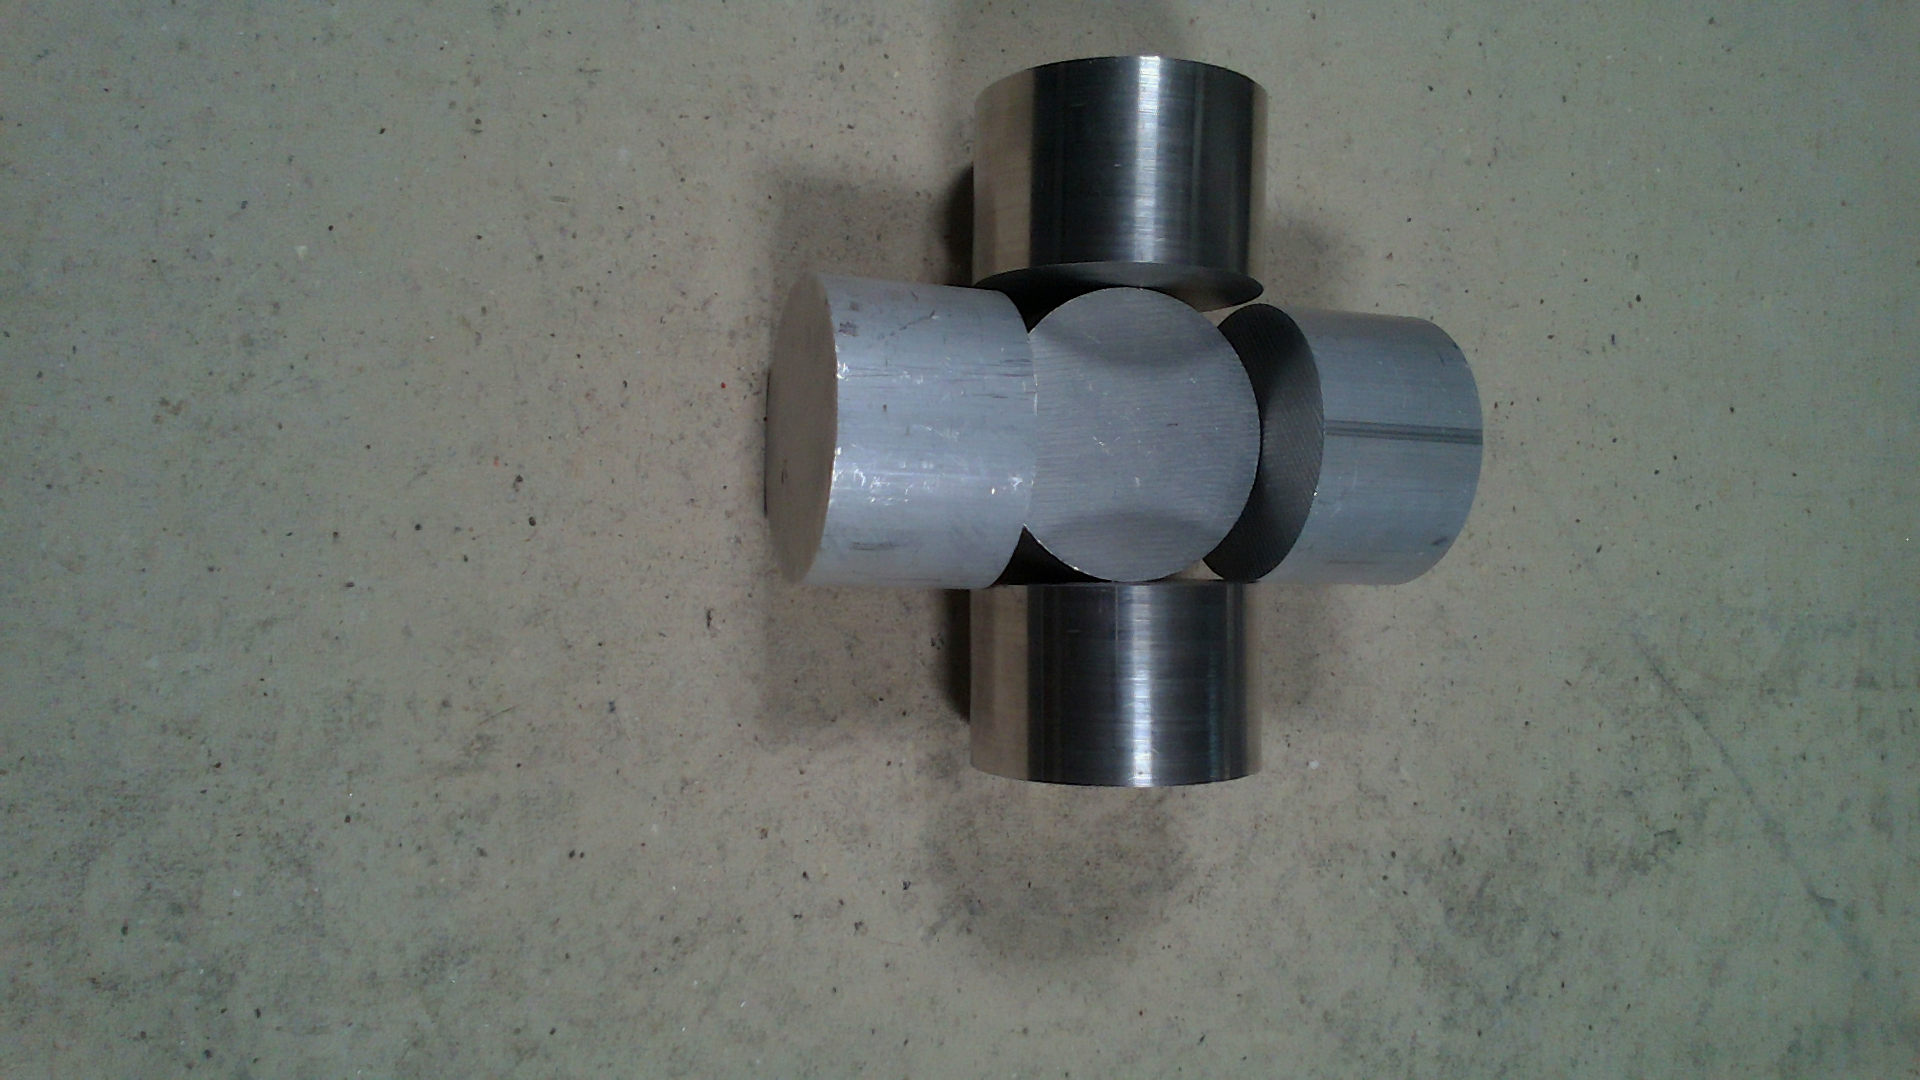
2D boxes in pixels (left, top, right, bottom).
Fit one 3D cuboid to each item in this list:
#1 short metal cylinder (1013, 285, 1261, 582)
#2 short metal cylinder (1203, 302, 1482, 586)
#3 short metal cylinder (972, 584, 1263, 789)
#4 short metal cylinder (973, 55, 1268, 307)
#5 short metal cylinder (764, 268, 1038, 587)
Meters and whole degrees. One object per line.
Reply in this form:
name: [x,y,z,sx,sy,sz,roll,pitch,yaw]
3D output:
short metal cylinder: [0.038,-0.029,0.395,0.080,0.050,0.080,0,90,-20]
short metal cylinder: [0.105,-0.027,0.403,0.050,0.080,0.080,2,89,-20]
short metal cylinder: [0.043,0.037,0.380,0.080,0.080,0.050,0,89,-20]
short metal cylinder: [0.044,-0.094,0.379,0.080,0.080,0.050,2,90,-20]
short metal cylinder: [-0.018,-0.028,0.358,0.050,0.080,0.080,2,89,-20]
